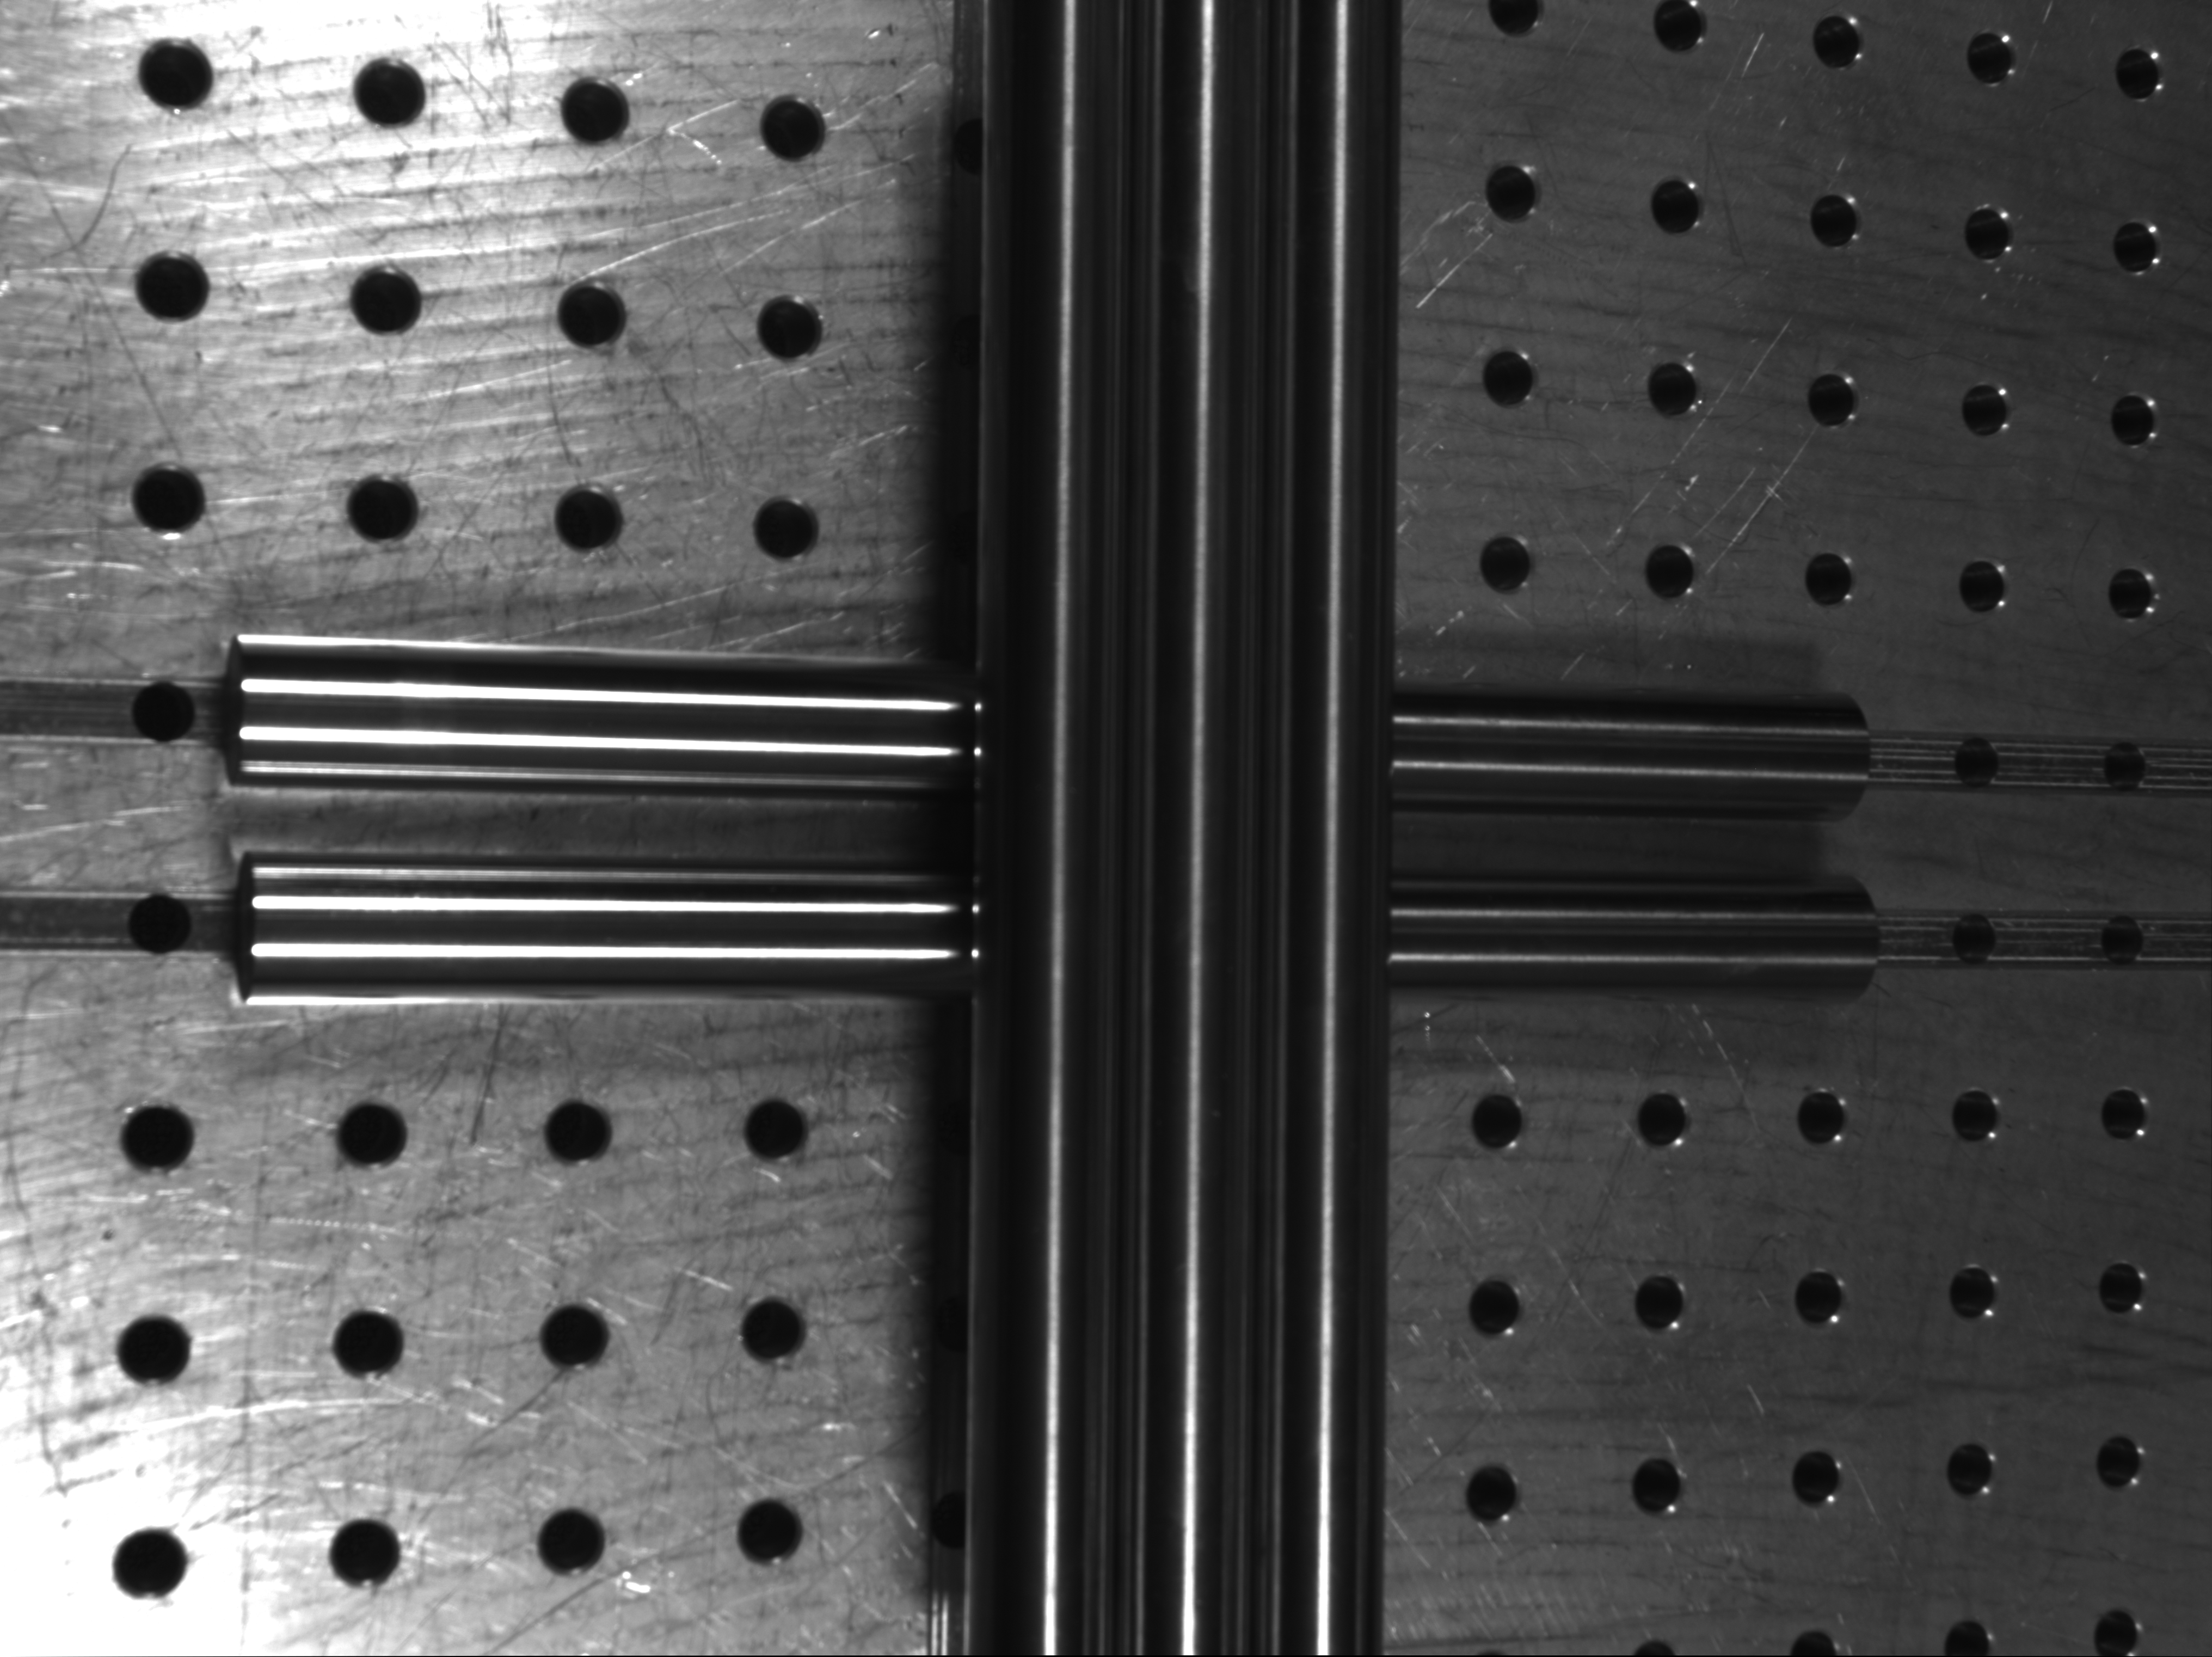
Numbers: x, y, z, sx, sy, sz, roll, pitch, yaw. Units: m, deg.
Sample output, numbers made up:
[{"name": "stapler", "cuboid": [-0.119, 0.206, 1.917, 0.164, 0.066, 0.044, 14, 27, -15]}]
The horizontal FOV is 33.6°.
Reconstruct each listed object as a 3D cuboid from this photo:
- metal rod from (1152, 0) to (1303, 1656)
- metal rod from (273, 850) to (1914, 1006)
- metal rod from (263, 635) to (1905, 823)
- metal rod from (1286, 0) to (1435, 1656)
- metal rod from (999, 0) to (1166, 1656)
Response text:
[{"name": "metal rod", "cuboid": [0.020, 0.002, 0.627, 0.025, 0.025, 0.300, 1, 90, -20]}, {"name": "metal rod", "cuboid": [0.006, 0.019, 0.648, 0.301, 0.025, 0.025, 1, 90, -20]}, {"name": "metal rod", "cuboid": [0.005, -0.016, 0.648, 0.301, 0.025, 0.025, 1, 90, -20]}, {"name": "metal rod", "cuboid": [0.043, 0.001, 0.635, 0.025, 0.025, 0.300, 1, 90, -20]}, {"name": "metal rod", "cuboid": [-0.004, 0.003, 0.618, 0.025, 0.025, 0.300, 1, 90, -20]}]
